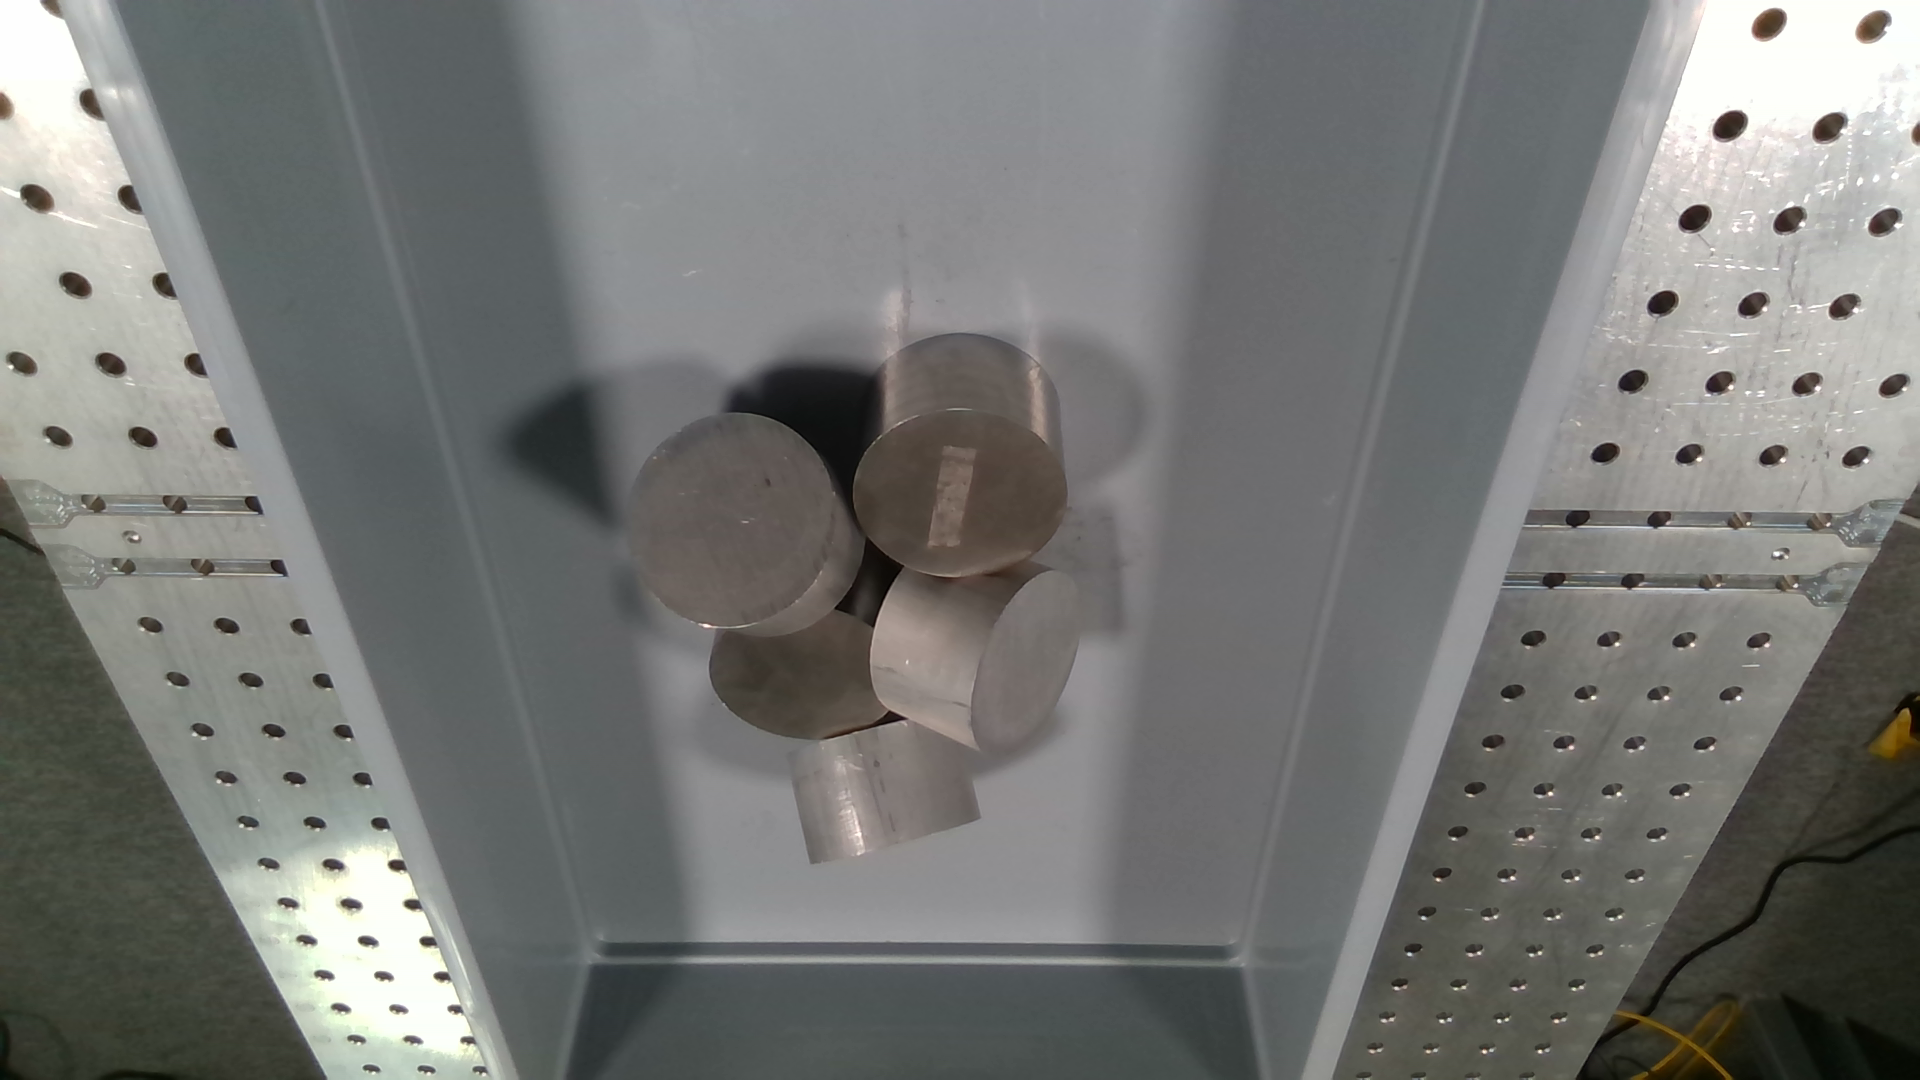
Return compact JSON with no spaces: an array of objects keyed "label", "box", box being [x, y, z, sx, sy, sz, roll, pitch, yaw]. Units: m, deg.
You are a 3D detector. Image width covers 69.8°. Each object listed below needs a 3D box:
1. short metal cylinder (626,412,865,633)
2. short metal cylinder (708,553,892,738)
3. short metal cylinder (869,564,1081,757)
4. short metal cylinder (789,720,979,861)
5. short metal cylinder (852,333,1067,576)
[{"label":"short metal cylinder","box":[-0.081,-0.004,0.530,0.080,0.080,0.050,-9,172,7]},{"label":"short metal cylinder","box":[-0.065,0.040,0.595,0.080,0.050,0.080,0,130,0]},{"label":"short metal cylinder","box":[0.007,0.043,0.568,0.050,0.080,0.080,20,138,31]},{"label":"short metal cylinder","box":[-0.035,0.112,0.629,0.080,0.050,0.080,-14,170,-2]},{"label":"short metal cylinder","box":[0.000,-0.033,0.533,0.080,0.050,0.080,0,130,0]}]
